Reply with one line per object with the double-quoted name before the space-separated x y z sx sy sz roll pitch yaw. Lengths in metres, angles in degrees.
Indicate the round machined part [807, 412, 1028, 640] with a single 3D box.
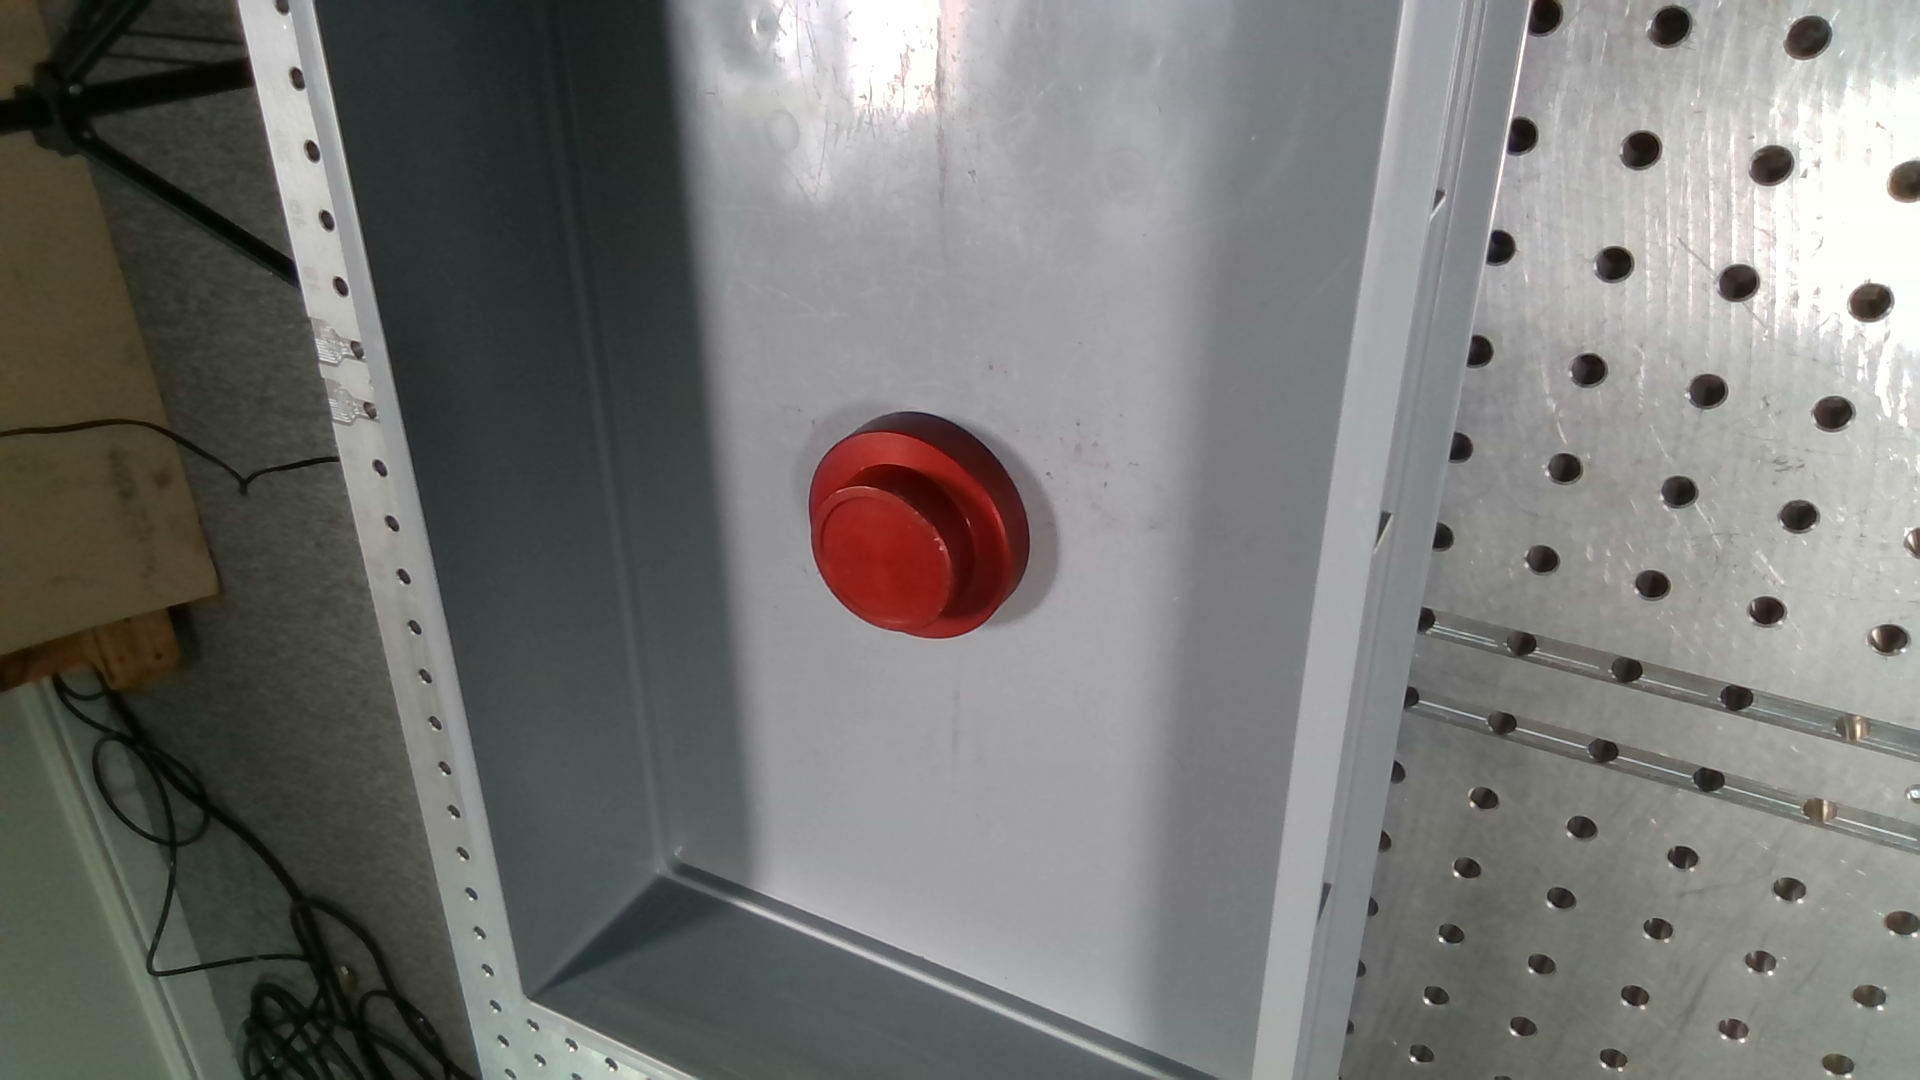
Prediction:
"round machined part" -0.024 -0.001 0.579 0.098 0.042 0.098 14 122 25
